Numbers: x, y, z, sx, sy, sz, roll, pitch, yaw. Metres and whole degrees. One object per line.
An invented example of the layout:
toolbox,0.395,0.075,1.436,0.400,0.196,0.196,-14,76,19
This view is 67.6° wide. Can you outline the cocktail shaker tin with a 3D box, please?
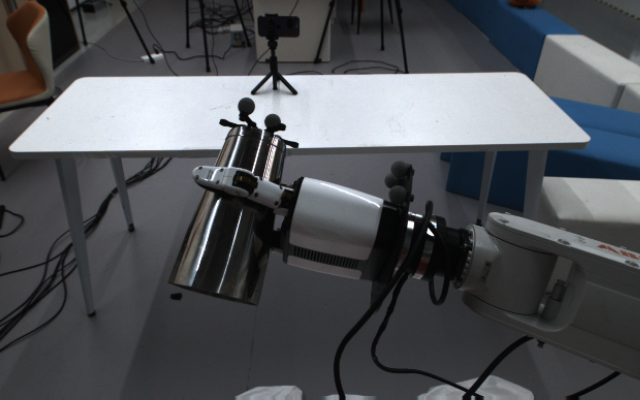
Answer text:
cocktail shaker tin,-0.086,0.016,0.501,0.093,0.093,0.170,11,73,12
